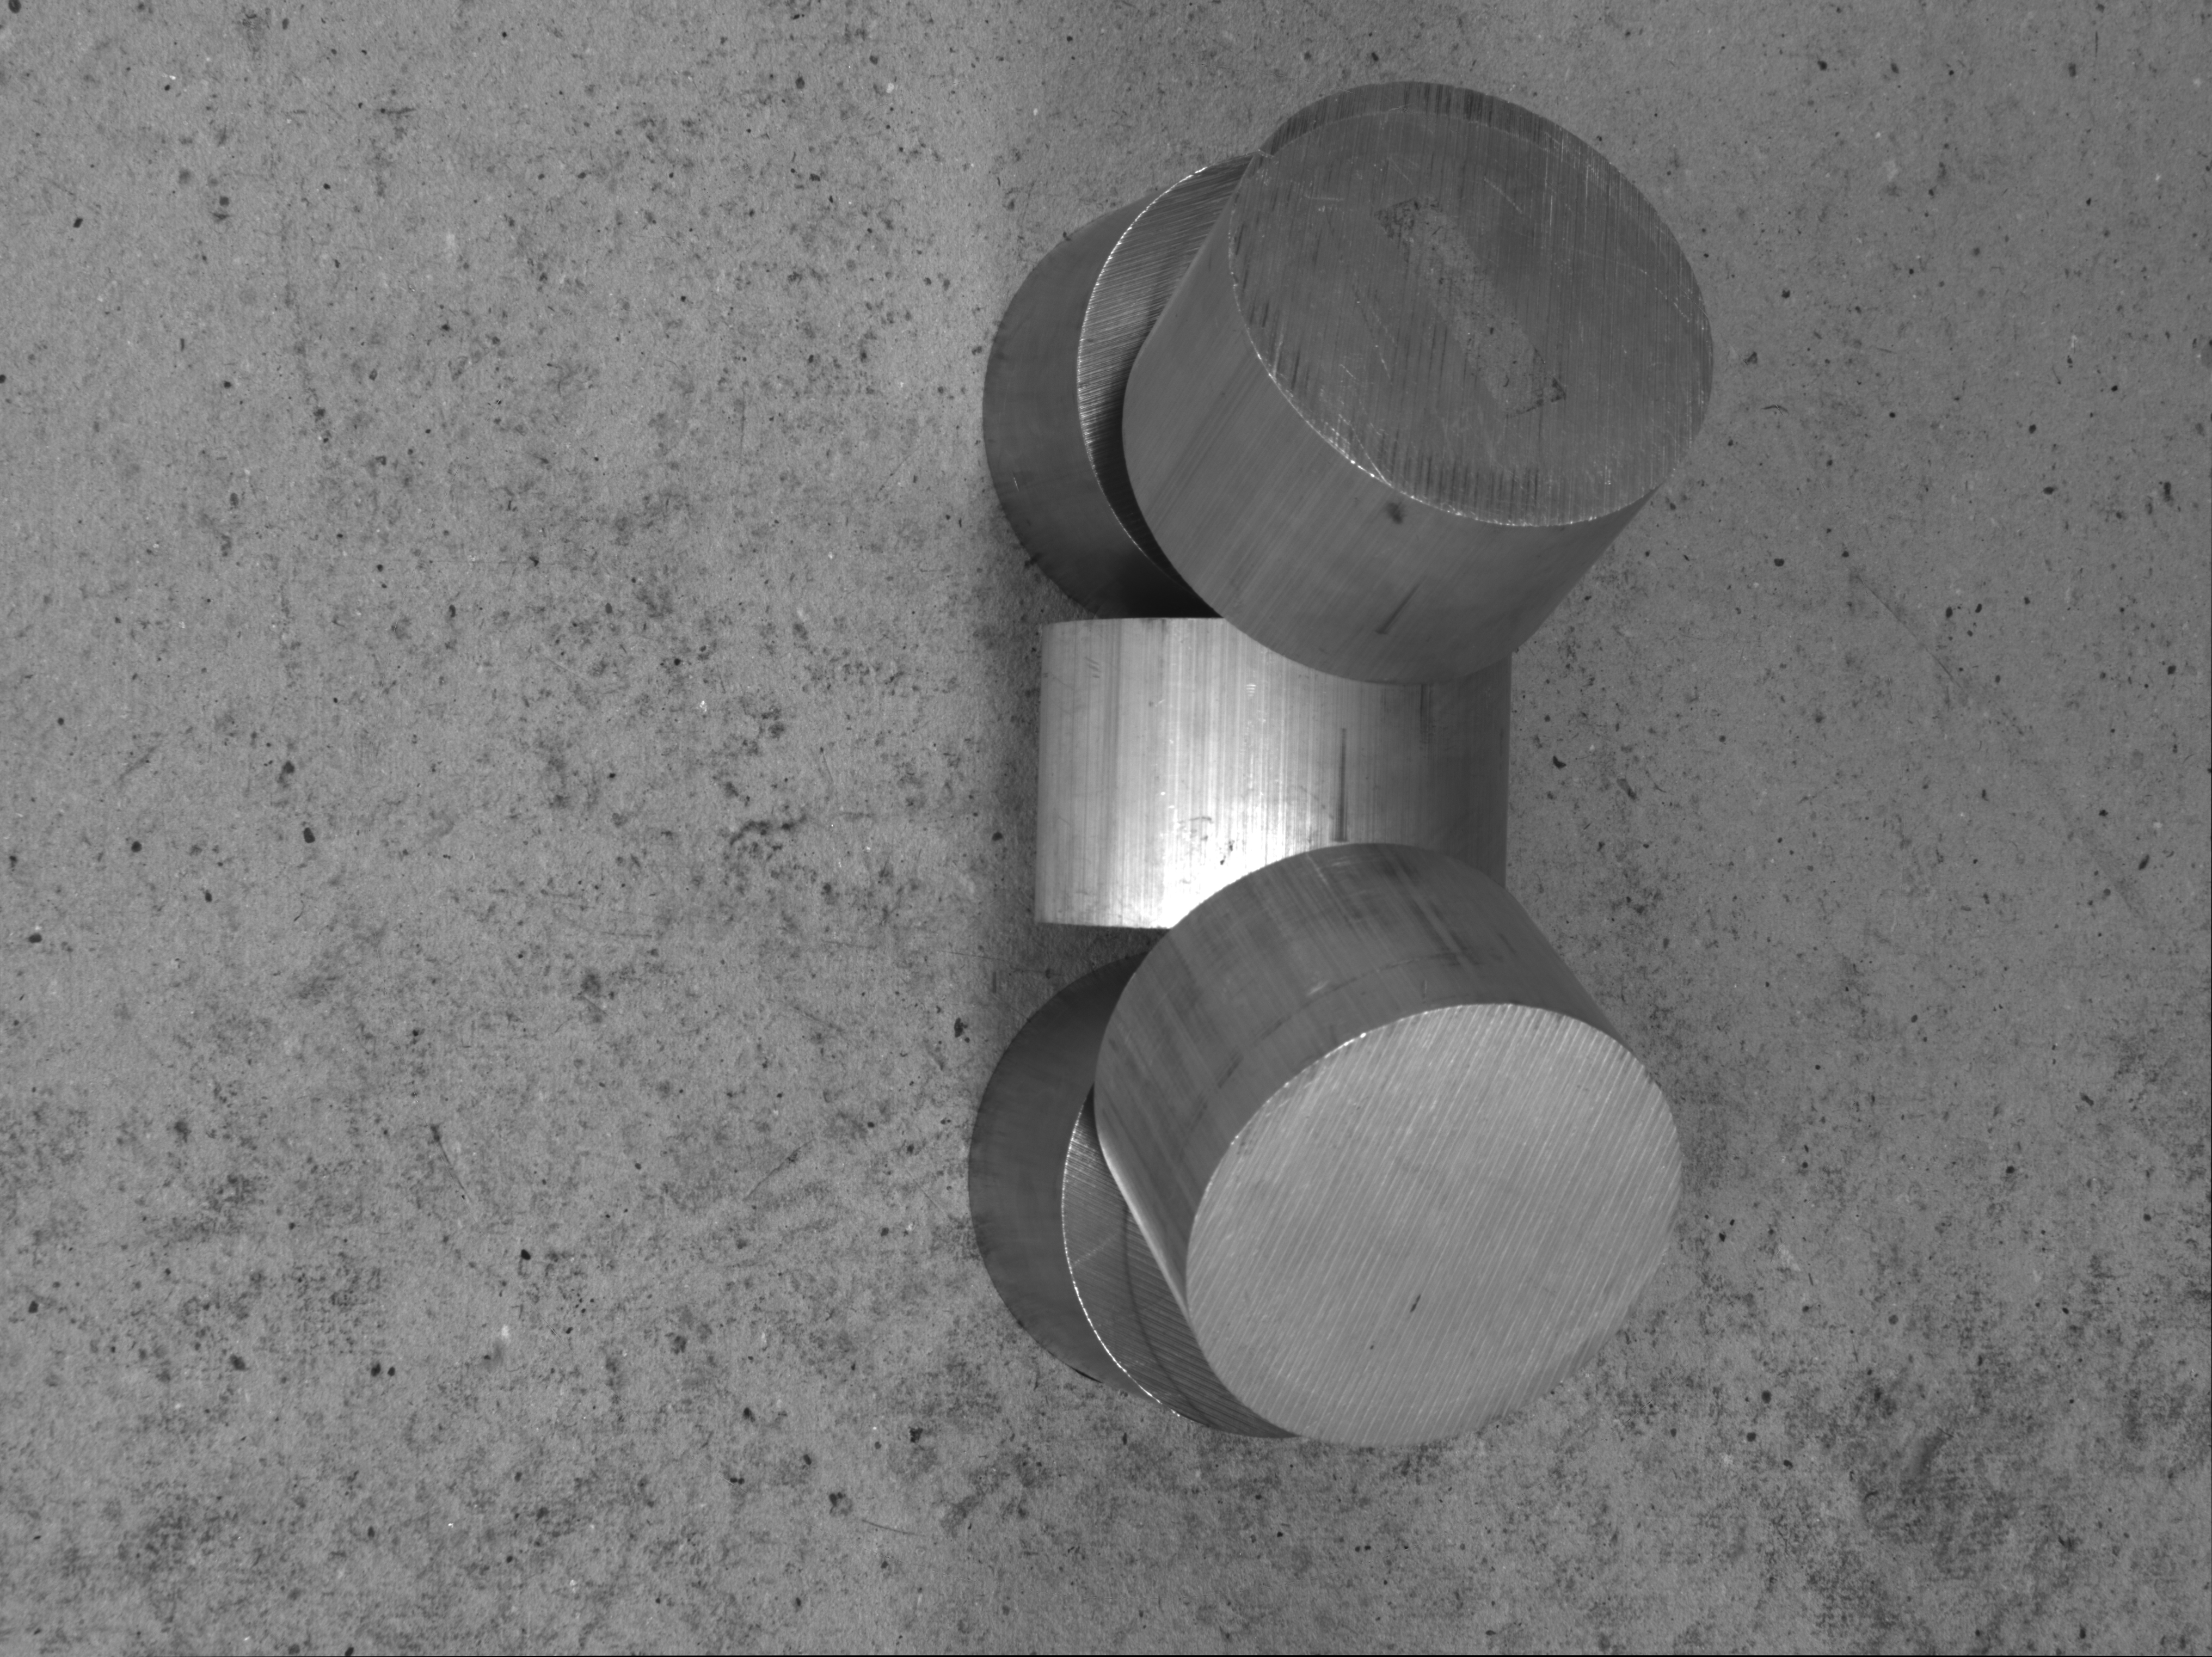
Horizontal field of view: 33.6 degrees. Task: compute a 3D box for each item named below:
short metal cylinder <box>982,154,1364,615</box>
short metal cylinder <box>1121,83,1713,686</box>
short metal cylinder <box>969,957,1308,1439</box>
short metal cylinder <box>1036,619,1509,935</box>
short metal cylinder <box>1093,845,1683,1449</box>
[{"bbox_3d":[0.024,-0.074,0.639,0.080,0.050,0.080,0,90,-20],"label":"short metal cylinder"},{"bbox_3d":[0.048,-0.070,0.579,0.080,0.050,0.080,9,62,-17],"label":"short metal cylinder"},{"bbox_3d":[0.022,0.062,0.638,0.080,0.050,0.080,0,90,-20],"label":"short metal cylinder"},{"bbox_3d":[0.028,-0.008,0.625,0.080,0.080,0.050,2,89,-20],"label":"short metal cylinder"},{"bbox_3d":[0.043,0.050,0.575,0.080,0.050,0.080,-8,120,-14],"label":"short metal cylinder"}]
